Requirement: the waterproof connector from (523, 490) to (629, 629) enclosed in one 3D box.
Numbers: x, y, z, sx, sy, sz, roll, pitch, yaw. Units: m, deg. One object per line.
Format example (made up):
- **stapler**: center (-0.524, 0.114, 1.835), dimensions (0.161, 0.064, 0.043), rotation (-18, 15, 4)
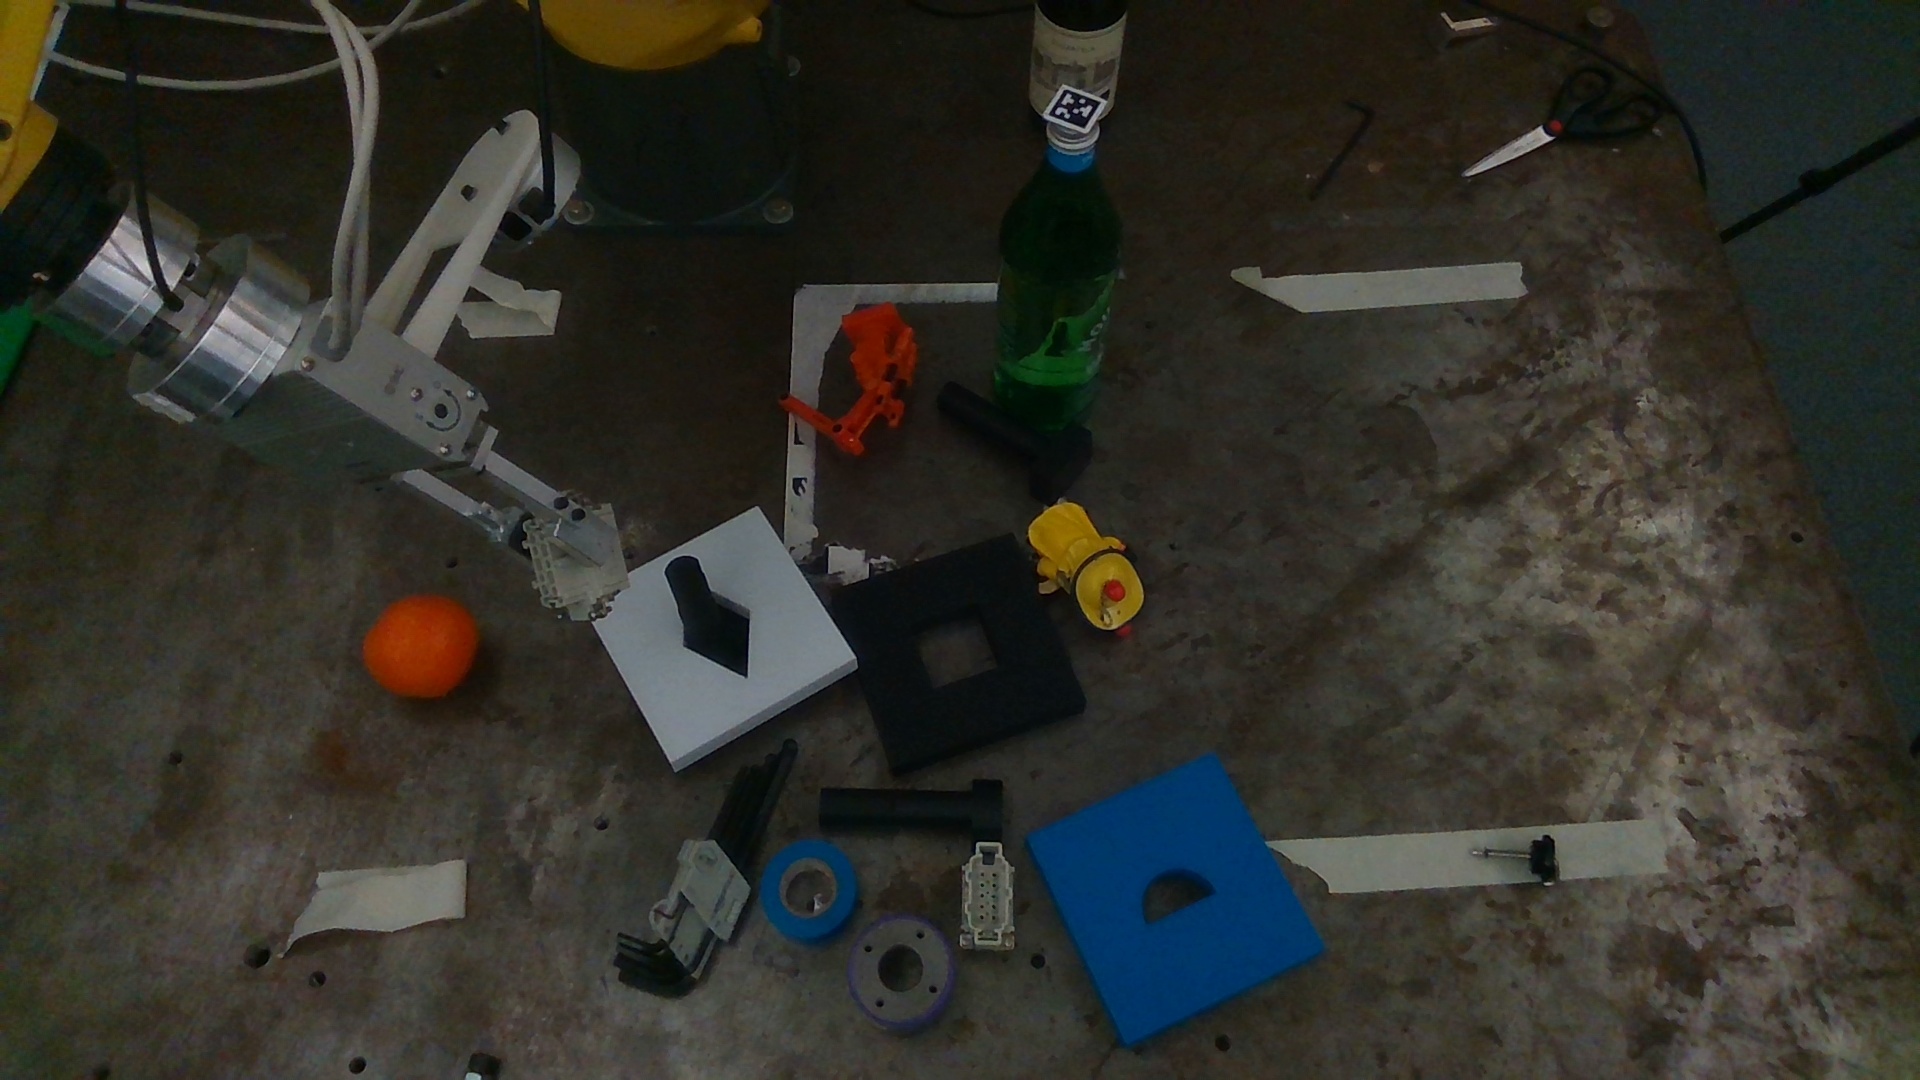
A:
- **waterproof connector**: center (-0.195, 0.010, 0.697), dimensions (0.037, 0.038, 0.069), rotation (-4, 95, 35)
